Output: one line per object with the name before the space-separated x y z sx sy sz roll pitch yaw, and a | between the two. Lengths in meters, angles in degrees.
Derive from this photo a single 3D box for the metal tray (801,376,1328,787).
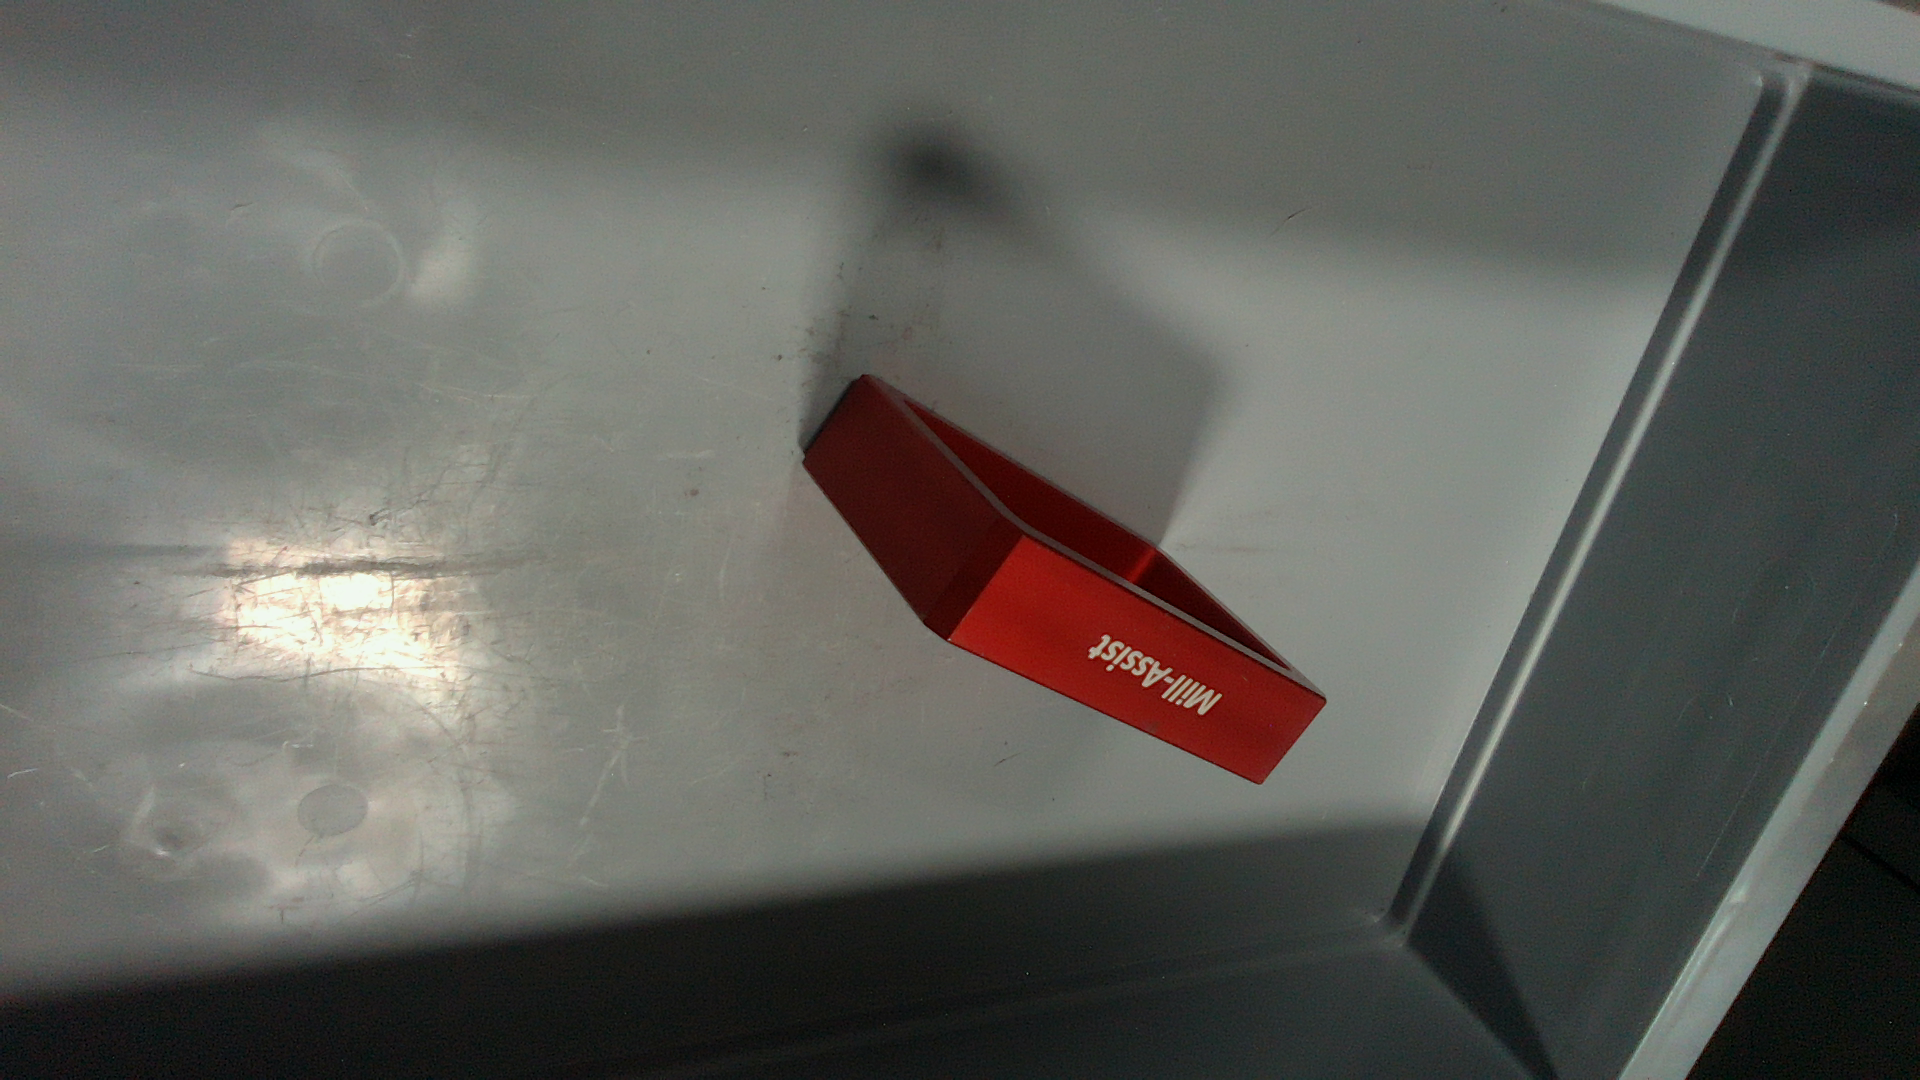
metal tray | 0.029 0.012 0.366 0.130 0.090 0.030 28 103 -38
